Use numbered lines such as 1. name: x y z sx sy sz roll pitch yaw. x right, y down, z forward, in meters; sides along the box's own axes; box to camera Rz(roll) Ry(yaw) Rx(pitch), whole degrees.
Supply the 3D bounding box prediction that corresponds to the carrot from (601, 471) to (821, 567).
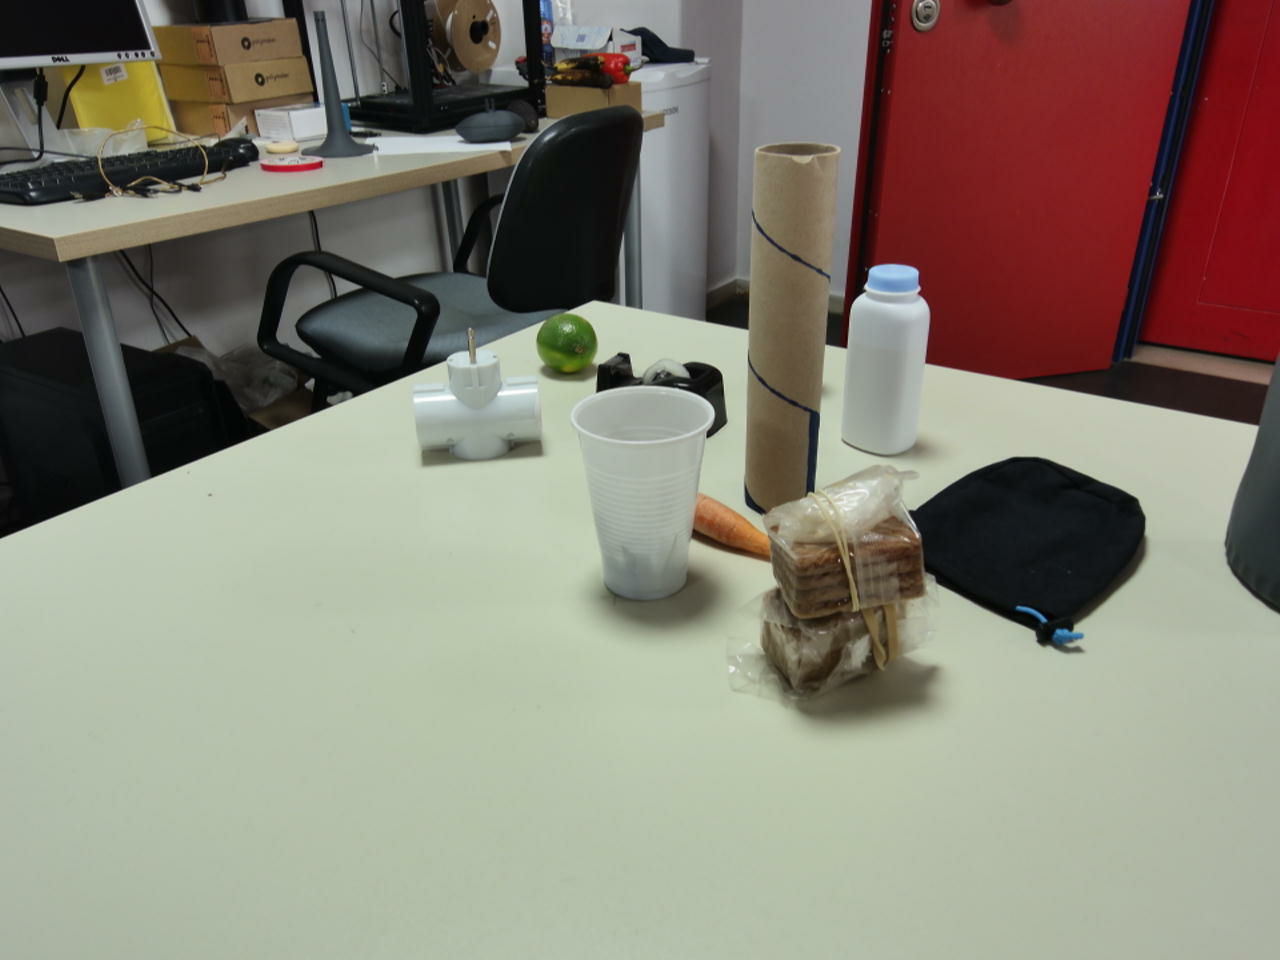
1. carrot: 0.041 0.023 0.626 0.163 0.029 0.031 17 30 32
